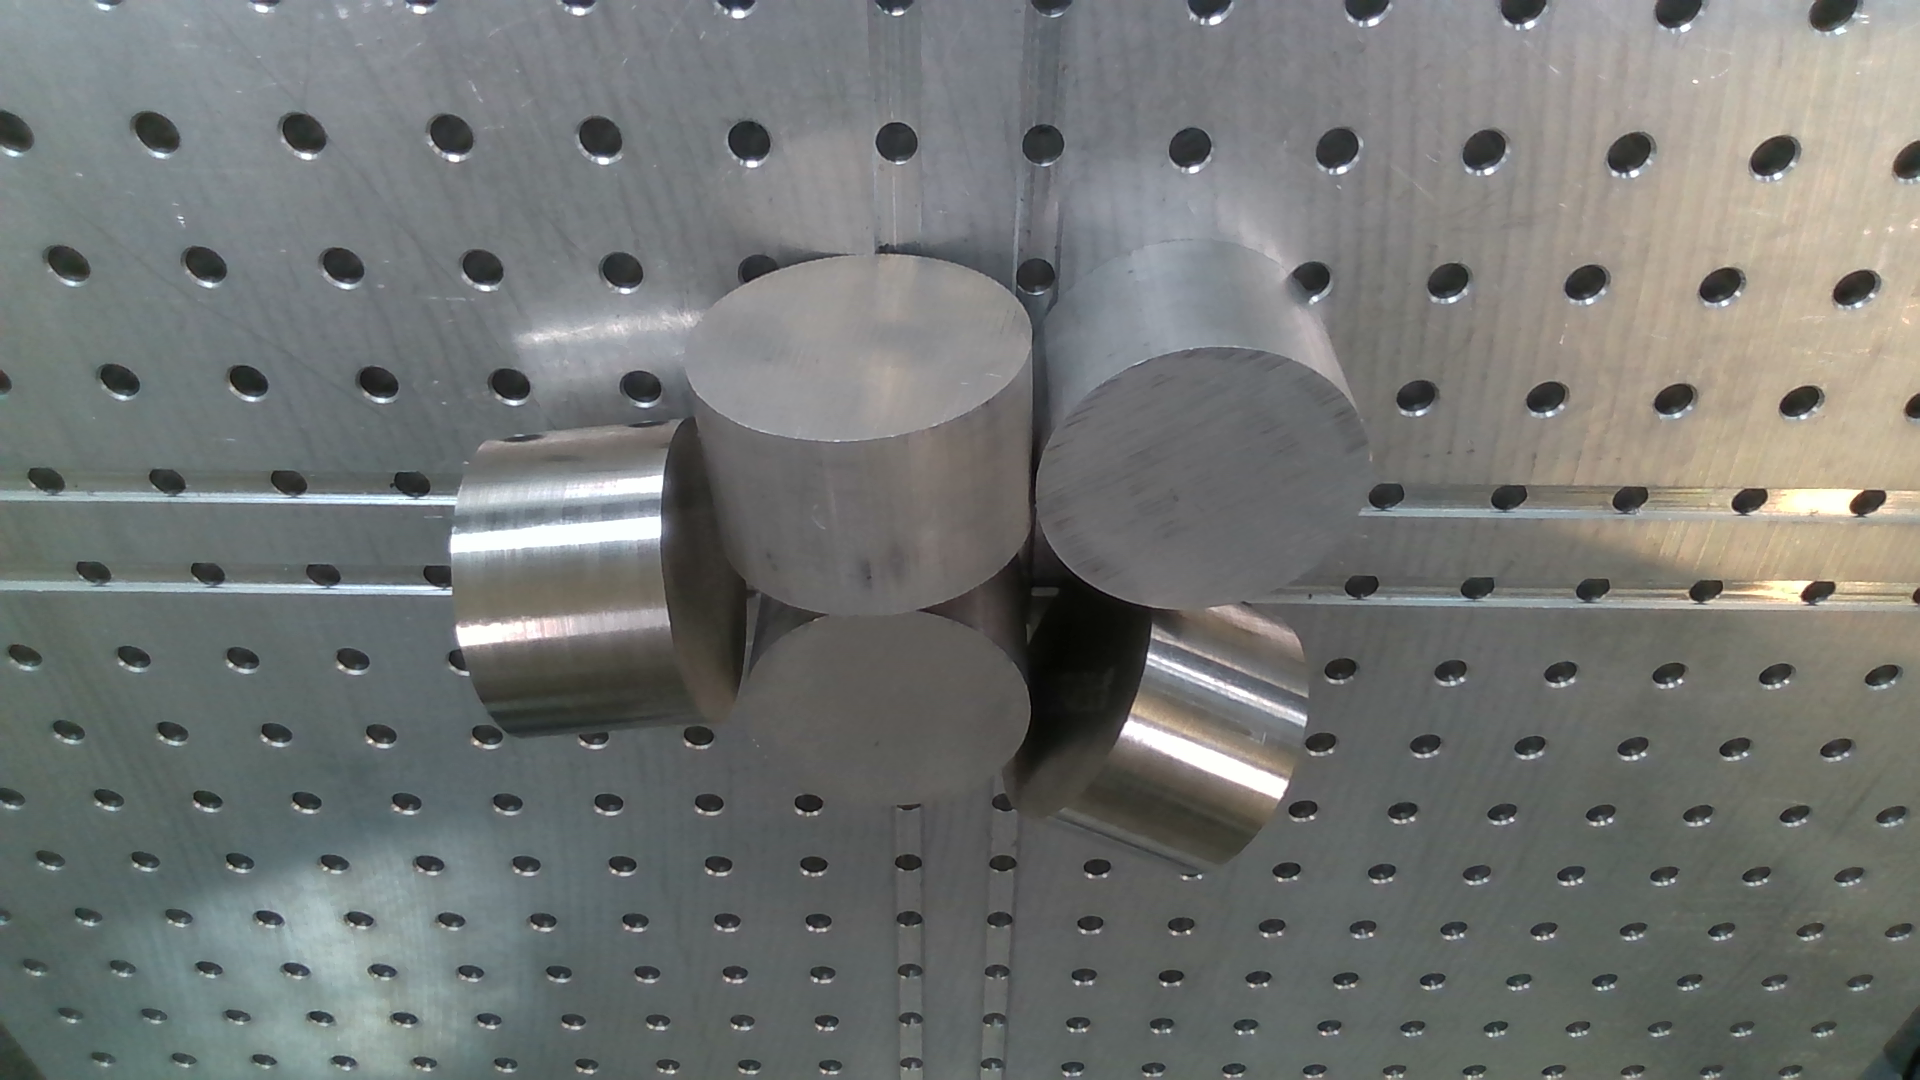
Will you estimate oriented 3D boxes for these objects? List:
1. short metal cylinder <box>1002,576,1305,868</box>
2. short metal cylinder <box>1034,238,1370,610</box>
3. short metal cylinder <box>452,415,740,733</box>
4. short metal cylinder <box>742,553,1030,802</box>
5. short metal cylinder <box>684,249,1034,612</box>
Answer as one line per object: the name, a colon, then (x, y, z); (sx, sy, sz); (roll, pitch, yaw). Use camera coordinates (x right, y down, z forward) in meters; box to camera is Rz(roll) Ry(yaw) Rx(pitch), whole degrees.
short metal cylinder: (0.054, 0.048, 0.397); (0.050, 0.080, 0.080); (22, 127, -18)
short metal cylinder: (0.058, -0.029, 0.351); (0.080, 0.050, 0.080); (0, 129, 0)
short metal cylinder: (-0.092, 0.009, 0.363); (0.050, 0.080, 0.080); (-5, 130, 4)
short metal cylinder: (-0.020, 0.031, 0.402); (0.080, 0.050, 0.080); (0, 131, 0)
short metal cylinder: (-0.022, -0.028, 0.333); (0.080, 0.080, 0.050); (-2, 131, 2)
